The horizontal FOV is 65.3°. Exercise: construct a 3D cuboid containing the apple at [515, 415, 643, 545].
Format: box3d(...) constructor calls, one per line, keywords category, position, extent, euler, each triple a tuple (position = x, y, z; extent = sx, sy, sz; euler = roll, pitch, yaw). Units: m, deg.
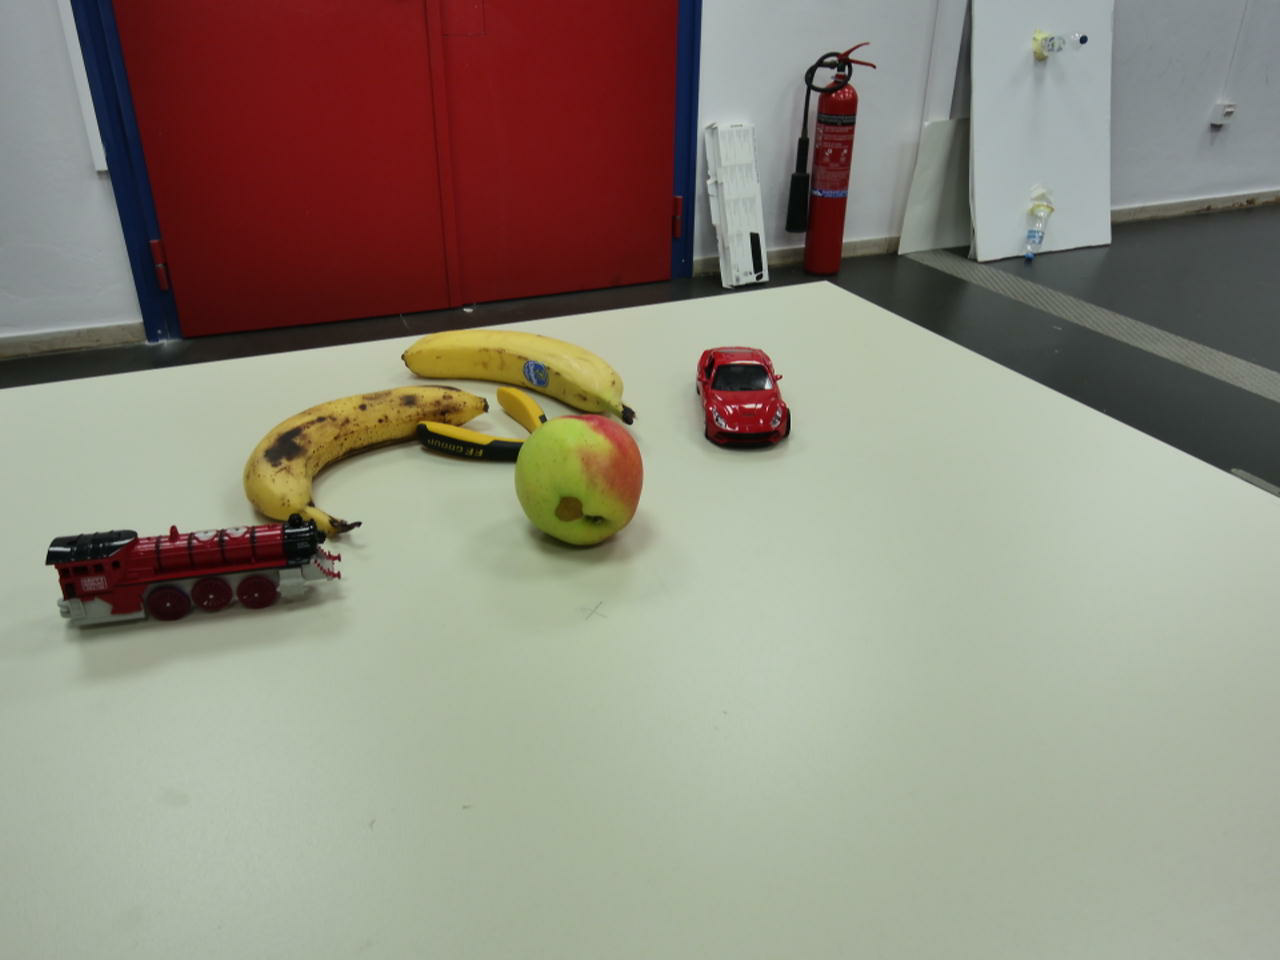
box3d(category="apple", position=(-0.034, -0.002, 0.579), extent=(0.075, 0.074, 0.075), euler=(-22, 34, -39))
